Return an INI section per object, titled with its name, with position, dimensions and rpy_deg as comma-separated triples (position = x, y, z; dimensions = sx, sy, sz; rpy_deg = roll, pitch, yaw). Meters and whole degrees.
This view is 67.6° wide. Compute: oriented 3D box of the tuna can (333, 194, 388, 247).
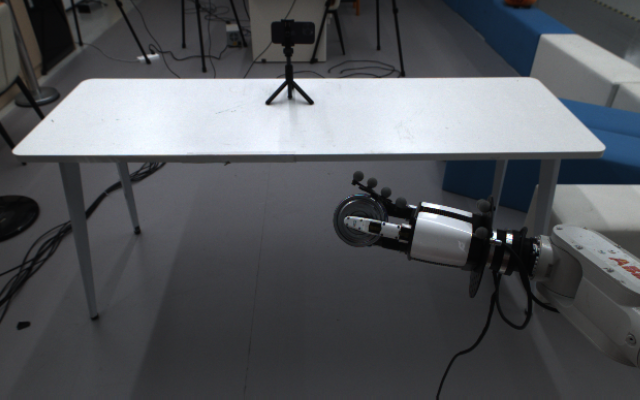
[tuna can]
position = 0.068, 0.039, 0.773
dimensions = 0.085, 0.085, 0.034
rpy_deg = 13, 4, 15
